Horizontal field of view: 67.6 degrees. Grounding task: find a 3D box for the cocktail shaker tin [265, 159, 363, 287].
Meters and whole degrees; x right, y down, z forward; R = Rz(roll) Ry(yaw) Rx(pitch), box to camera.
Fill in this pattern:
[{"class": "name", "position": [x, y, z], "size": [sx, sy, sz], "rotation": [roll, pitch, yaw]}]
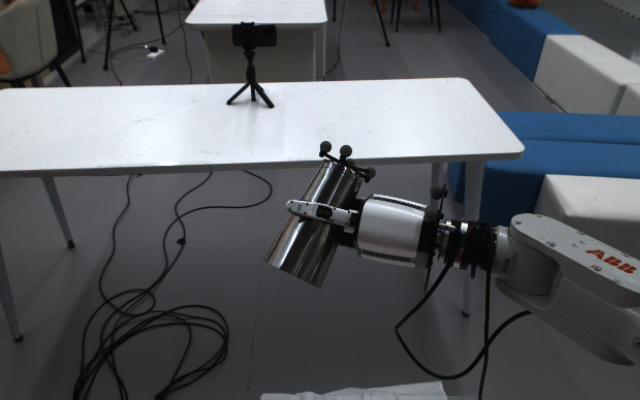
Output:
[{"class": "cocktail shaker tin", "position": [-0.002, 0.029, 0.706], "size": [0.093, 0.093, 0.170], "rotation": [21, 81, 25]}]
